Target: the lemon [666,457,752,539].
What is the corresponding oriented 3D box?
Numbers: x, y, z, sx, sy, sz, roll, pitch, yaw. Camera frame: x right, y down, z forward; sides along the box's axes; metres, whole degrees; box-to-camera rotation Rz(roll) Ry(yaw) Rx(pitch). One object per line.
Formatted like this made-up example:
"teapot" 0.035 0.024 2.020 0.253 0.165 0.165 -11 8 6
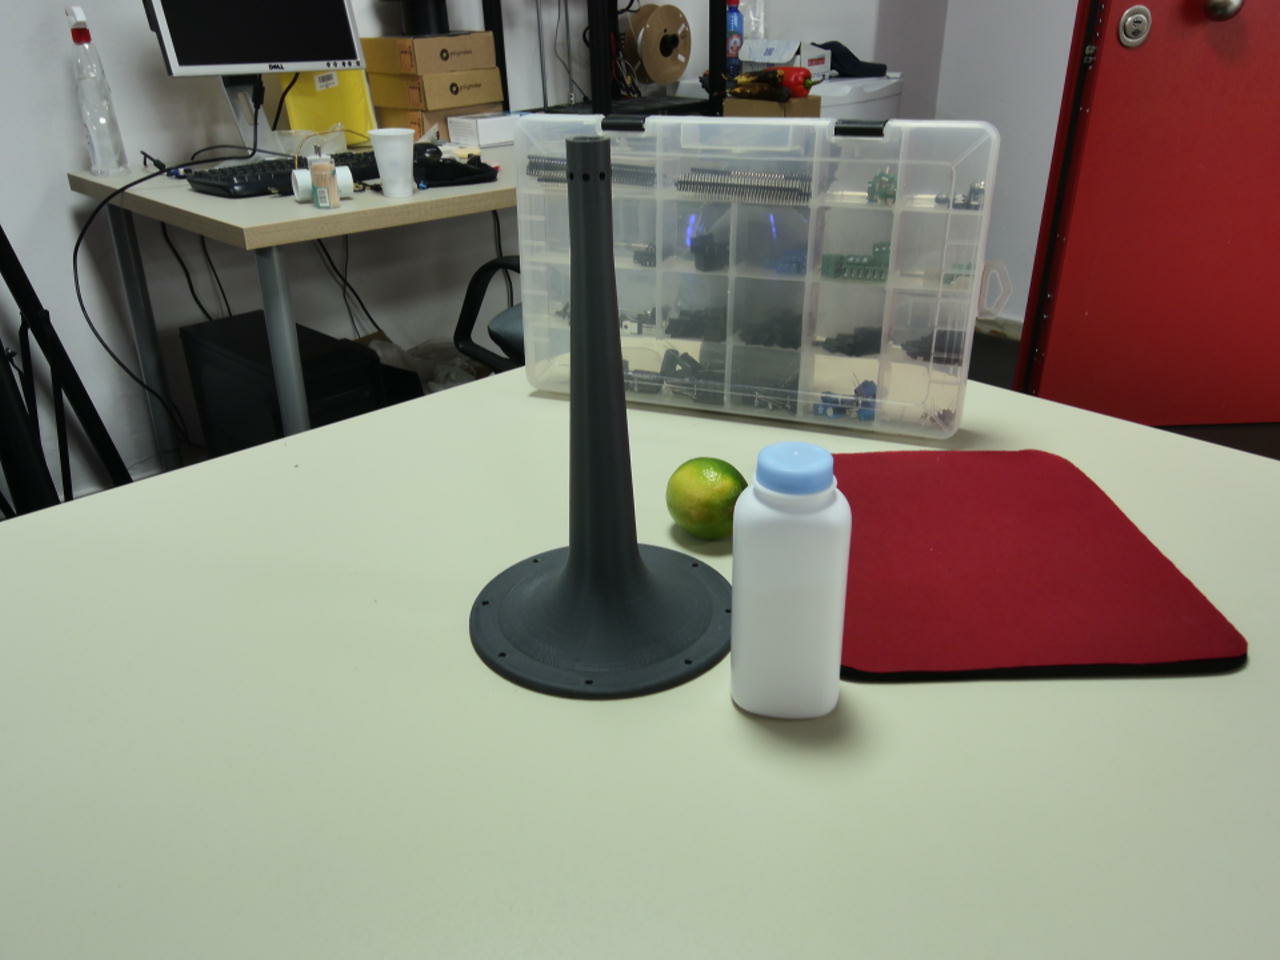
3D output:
"lemon" 0.043 0.011 0.634 0.054 0.050 0.055 3 24 7
